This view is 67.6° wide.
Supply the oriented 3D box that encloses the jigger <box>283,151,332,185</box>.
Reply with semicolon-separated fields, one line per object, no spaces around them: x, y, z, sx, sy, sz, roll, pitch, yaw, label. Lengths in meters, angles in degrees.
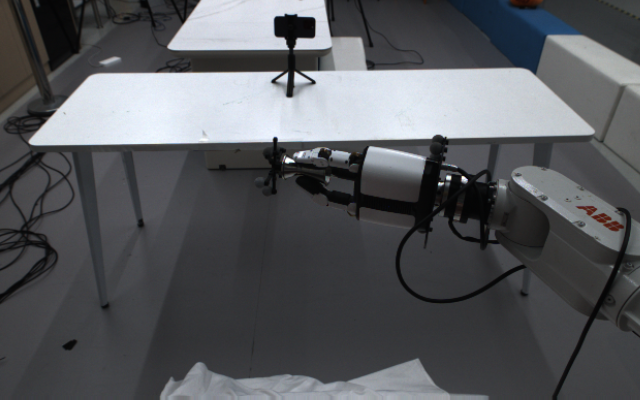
-0.014;-0.051;0.728;0.071;0.043;0.043;6;35;12;jigger
